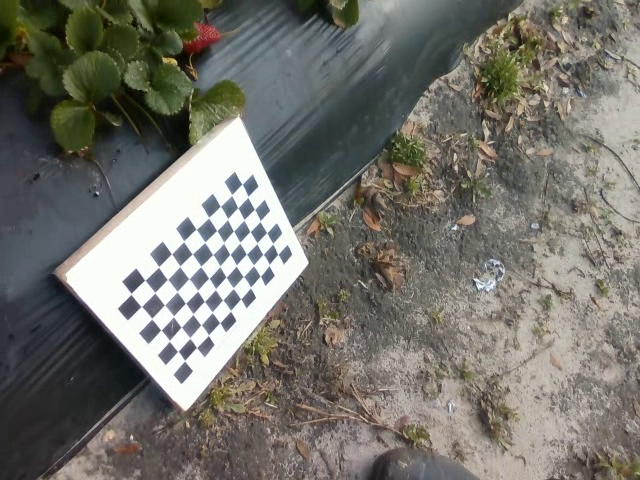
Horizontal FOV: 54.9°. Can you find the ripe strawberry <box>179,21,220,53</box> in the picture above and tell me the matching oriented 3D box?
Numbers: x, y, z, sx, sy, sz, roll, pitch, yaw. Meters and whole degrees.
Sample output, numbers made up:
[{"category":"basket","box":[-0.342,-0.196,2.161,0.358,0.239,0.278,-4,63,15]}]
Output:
[{"category":"ripe strawberry","box":[-0.142,-0.247,0.734,0.043,0.051,0.064,14,20,40]}]
